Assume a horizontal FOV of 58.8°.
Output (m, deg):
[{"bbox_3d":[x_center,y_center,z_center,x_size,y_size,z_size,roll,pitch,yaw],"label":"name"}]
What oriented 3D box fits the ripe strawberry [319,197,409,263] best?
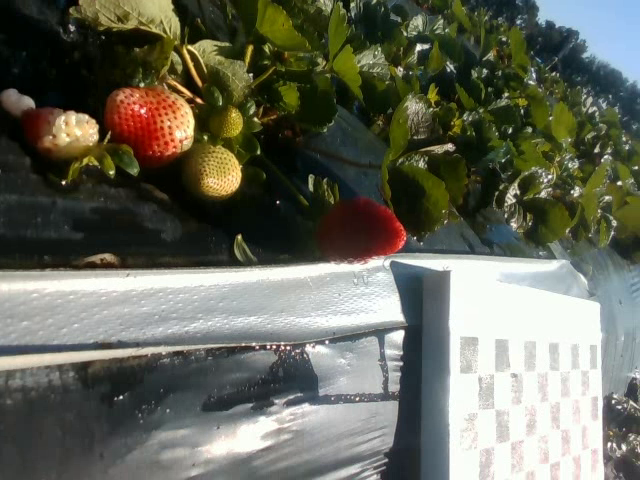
[{"bbox_3d":[0.018,-0.002,0.246,0.036,0.038,0.045,9,3,-42],"label":"ripe strawberry"}]
